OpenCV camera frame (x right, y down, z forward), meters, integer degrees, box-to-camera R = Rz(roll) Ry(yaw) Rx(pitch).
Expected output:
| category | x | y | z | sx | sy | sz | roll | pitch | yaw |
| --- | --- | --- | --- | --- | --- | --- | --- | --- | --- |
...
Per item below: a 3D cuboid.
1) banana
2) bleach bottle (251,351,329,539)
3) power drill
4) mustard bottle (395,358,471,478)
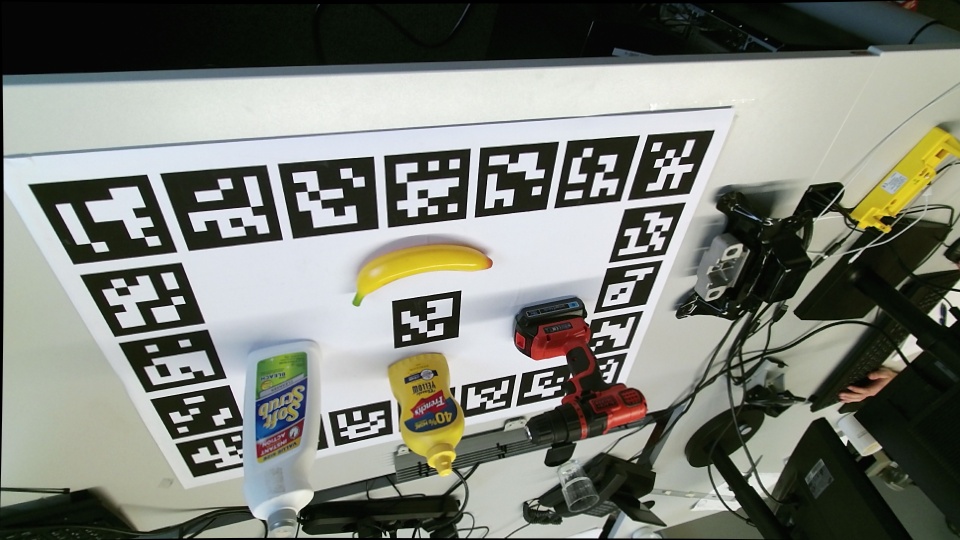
| category | x | y | z | sx | sy | sz | roll | pitch | yaw |
| --- | --- | --- | --- | --- | --- | --- | --- | --- | --- |
| banana | -0.071 | 0.014 | 0.715 | 0.198 | 0.038 | 0.074 | -14 | 130 | -14 |
| bleach bottle | -0.237 | 0.216 | 0.685 | 0.103 | 0.249 | 0.068 | -2 | 128 | -20 |
| power drill | 0.127 | 0.176 | 0.796 | 0.185 | 0.186 | 0.057 | -15 | 131 | -15 |
| mustard bottle | -0.066 | 0.220 | 0.799 | 0.096 | 0.190 | 0.058 | -14 | 131 | -9 |
